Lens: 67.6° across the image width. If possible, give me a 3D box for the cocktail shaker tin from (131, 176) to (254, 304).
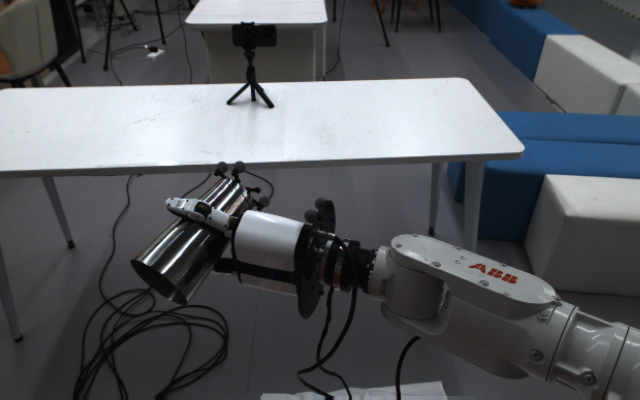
[{"bbox_3d":[-0.164,0.045,0.667,0.093,0.093,0.170,19,55,23],"label":"cocktail shaker tin"}]
